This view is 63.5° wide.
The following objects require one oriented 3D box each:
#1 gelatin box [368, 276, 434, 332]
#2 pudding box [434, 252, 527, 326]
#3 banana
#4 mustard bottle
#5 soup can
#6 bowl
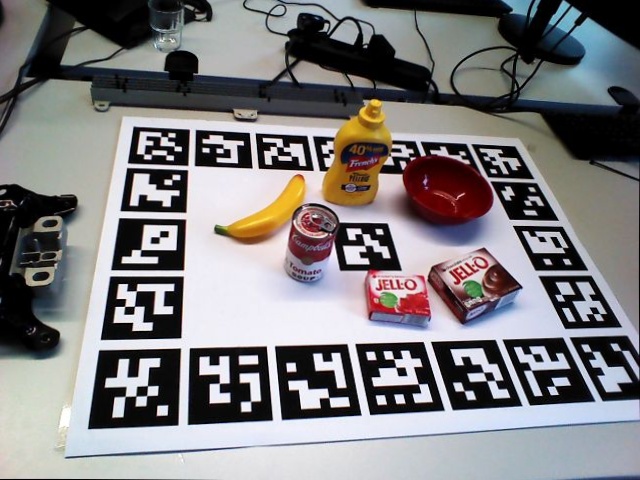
[{"bbox_3d":[0.115,0.092,0.749,0.089,0.030,0.073,6,51,-6],"label":"gelatin box"},{"bbox_3d":[0.246,0.071,0.791,0.113,0.039,0.090,-19,60,-26],"label":"pudding box"},{"bbox_3d":[-0.077,-0.058,0.839,0.074,0.039,0.196,26,47,25],"label":"banana"},{"bbox_3d":[0.076,-0.144,0.829,0.096,0.192,0.058,2,46,-12],"label":"mustard bottle"},{"bbox_3d":[-0.017,-0.001,0.744,0.068,0.102,0.067,8,46,-8],"label":"soup can"},{"bbox_3d":[0.232,-0.073,0.911,0.162,0.055,0.160,5,47,-6],"label":"bowl"}]
